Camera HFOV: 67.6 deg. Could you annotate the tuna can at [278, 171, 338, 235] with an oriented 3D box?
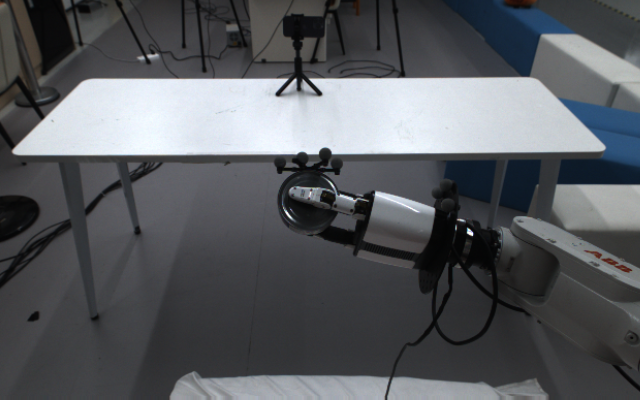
[{"bbox_3d":[-0.014,0.007,0.657,0.085,0.034,0.085,1,70,-4],"label":"tuna can"}]
